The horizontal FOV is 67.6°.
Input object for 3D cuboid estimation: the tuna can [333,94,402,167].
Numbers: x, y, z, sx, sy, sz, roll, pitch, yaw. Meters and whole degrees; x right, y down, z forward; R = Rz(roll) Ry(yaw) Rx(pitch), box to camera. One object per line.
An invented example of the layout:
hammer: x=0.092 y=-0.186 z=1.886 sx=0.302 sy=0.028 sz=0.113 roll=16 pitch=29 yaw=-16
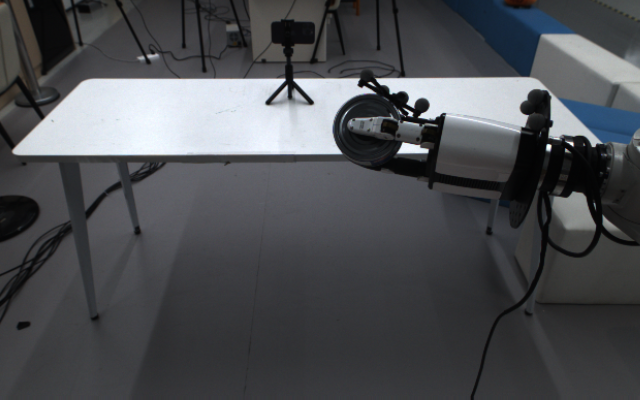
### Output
tuna can: x=0.064 y=-0.080 z=0.594 sx=0.085 sy=0.085 sz=0.034 roll=13 pitch=-4 yaw=15
